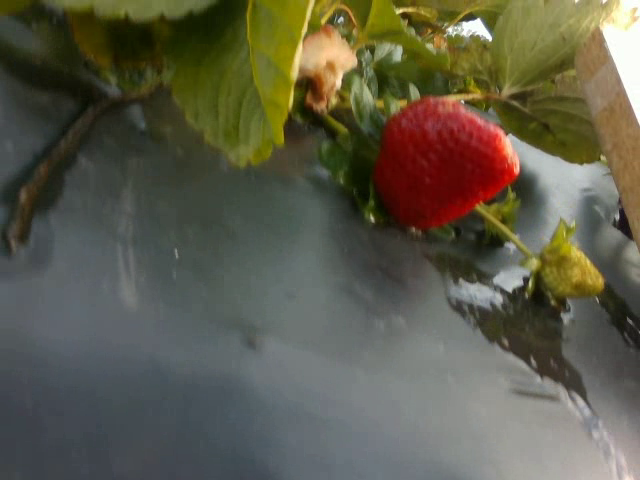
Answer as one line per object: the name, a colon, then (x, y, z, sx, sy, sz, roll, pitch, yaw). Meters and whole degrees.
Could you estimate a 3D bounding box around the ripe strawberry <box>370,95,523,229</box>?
ripe strawberry: (0.050, -0.027, 0.224, 0.043, 0.052, 0.057, -16, 8, -29)
